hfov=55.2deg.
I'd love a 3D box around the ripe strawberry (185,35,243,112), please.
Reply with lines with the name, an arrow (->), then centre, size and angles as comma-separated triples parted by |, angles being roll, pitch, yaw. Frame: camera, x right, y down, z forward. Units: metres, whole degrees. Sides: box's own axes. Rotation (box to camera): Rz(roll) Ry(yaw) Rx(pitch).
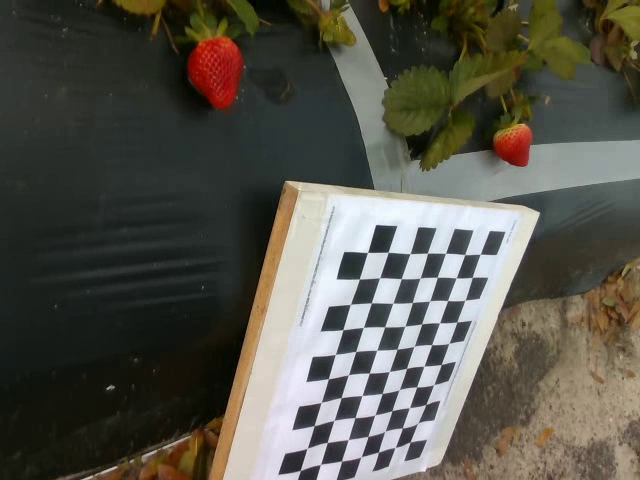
ripe strawberry -> -0.057, -0.096, 0.349 | 0.036, 0.046, 0.040 | -8, -17, -20

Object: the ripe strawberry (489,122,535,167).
ripe strawberry -> 0.170, -0.086, 0.556 | 0.039, 0.047, 0.041 | -26, 29, -10
